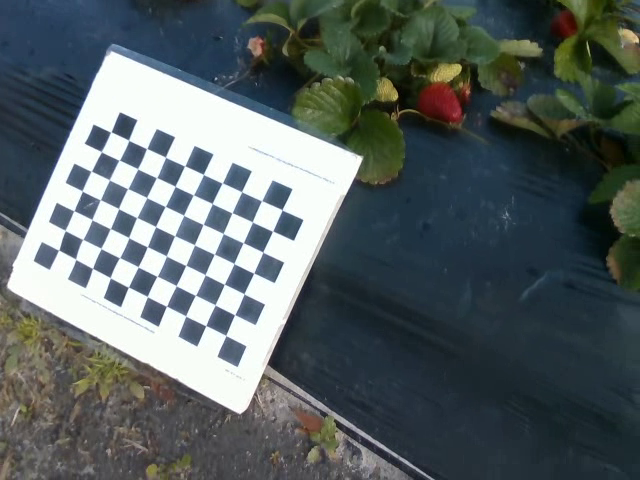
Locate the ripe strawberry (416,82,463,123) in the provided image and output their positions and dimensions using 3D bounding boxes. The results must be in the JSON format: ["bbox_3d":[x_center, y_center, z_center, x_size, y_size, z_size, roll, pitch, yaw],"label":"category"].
[{"bbox_3d":[0.115,-0.137,0.607,0.050,0.064,0.043,-33,-11,7],"label":"ripe strawberry"}]
